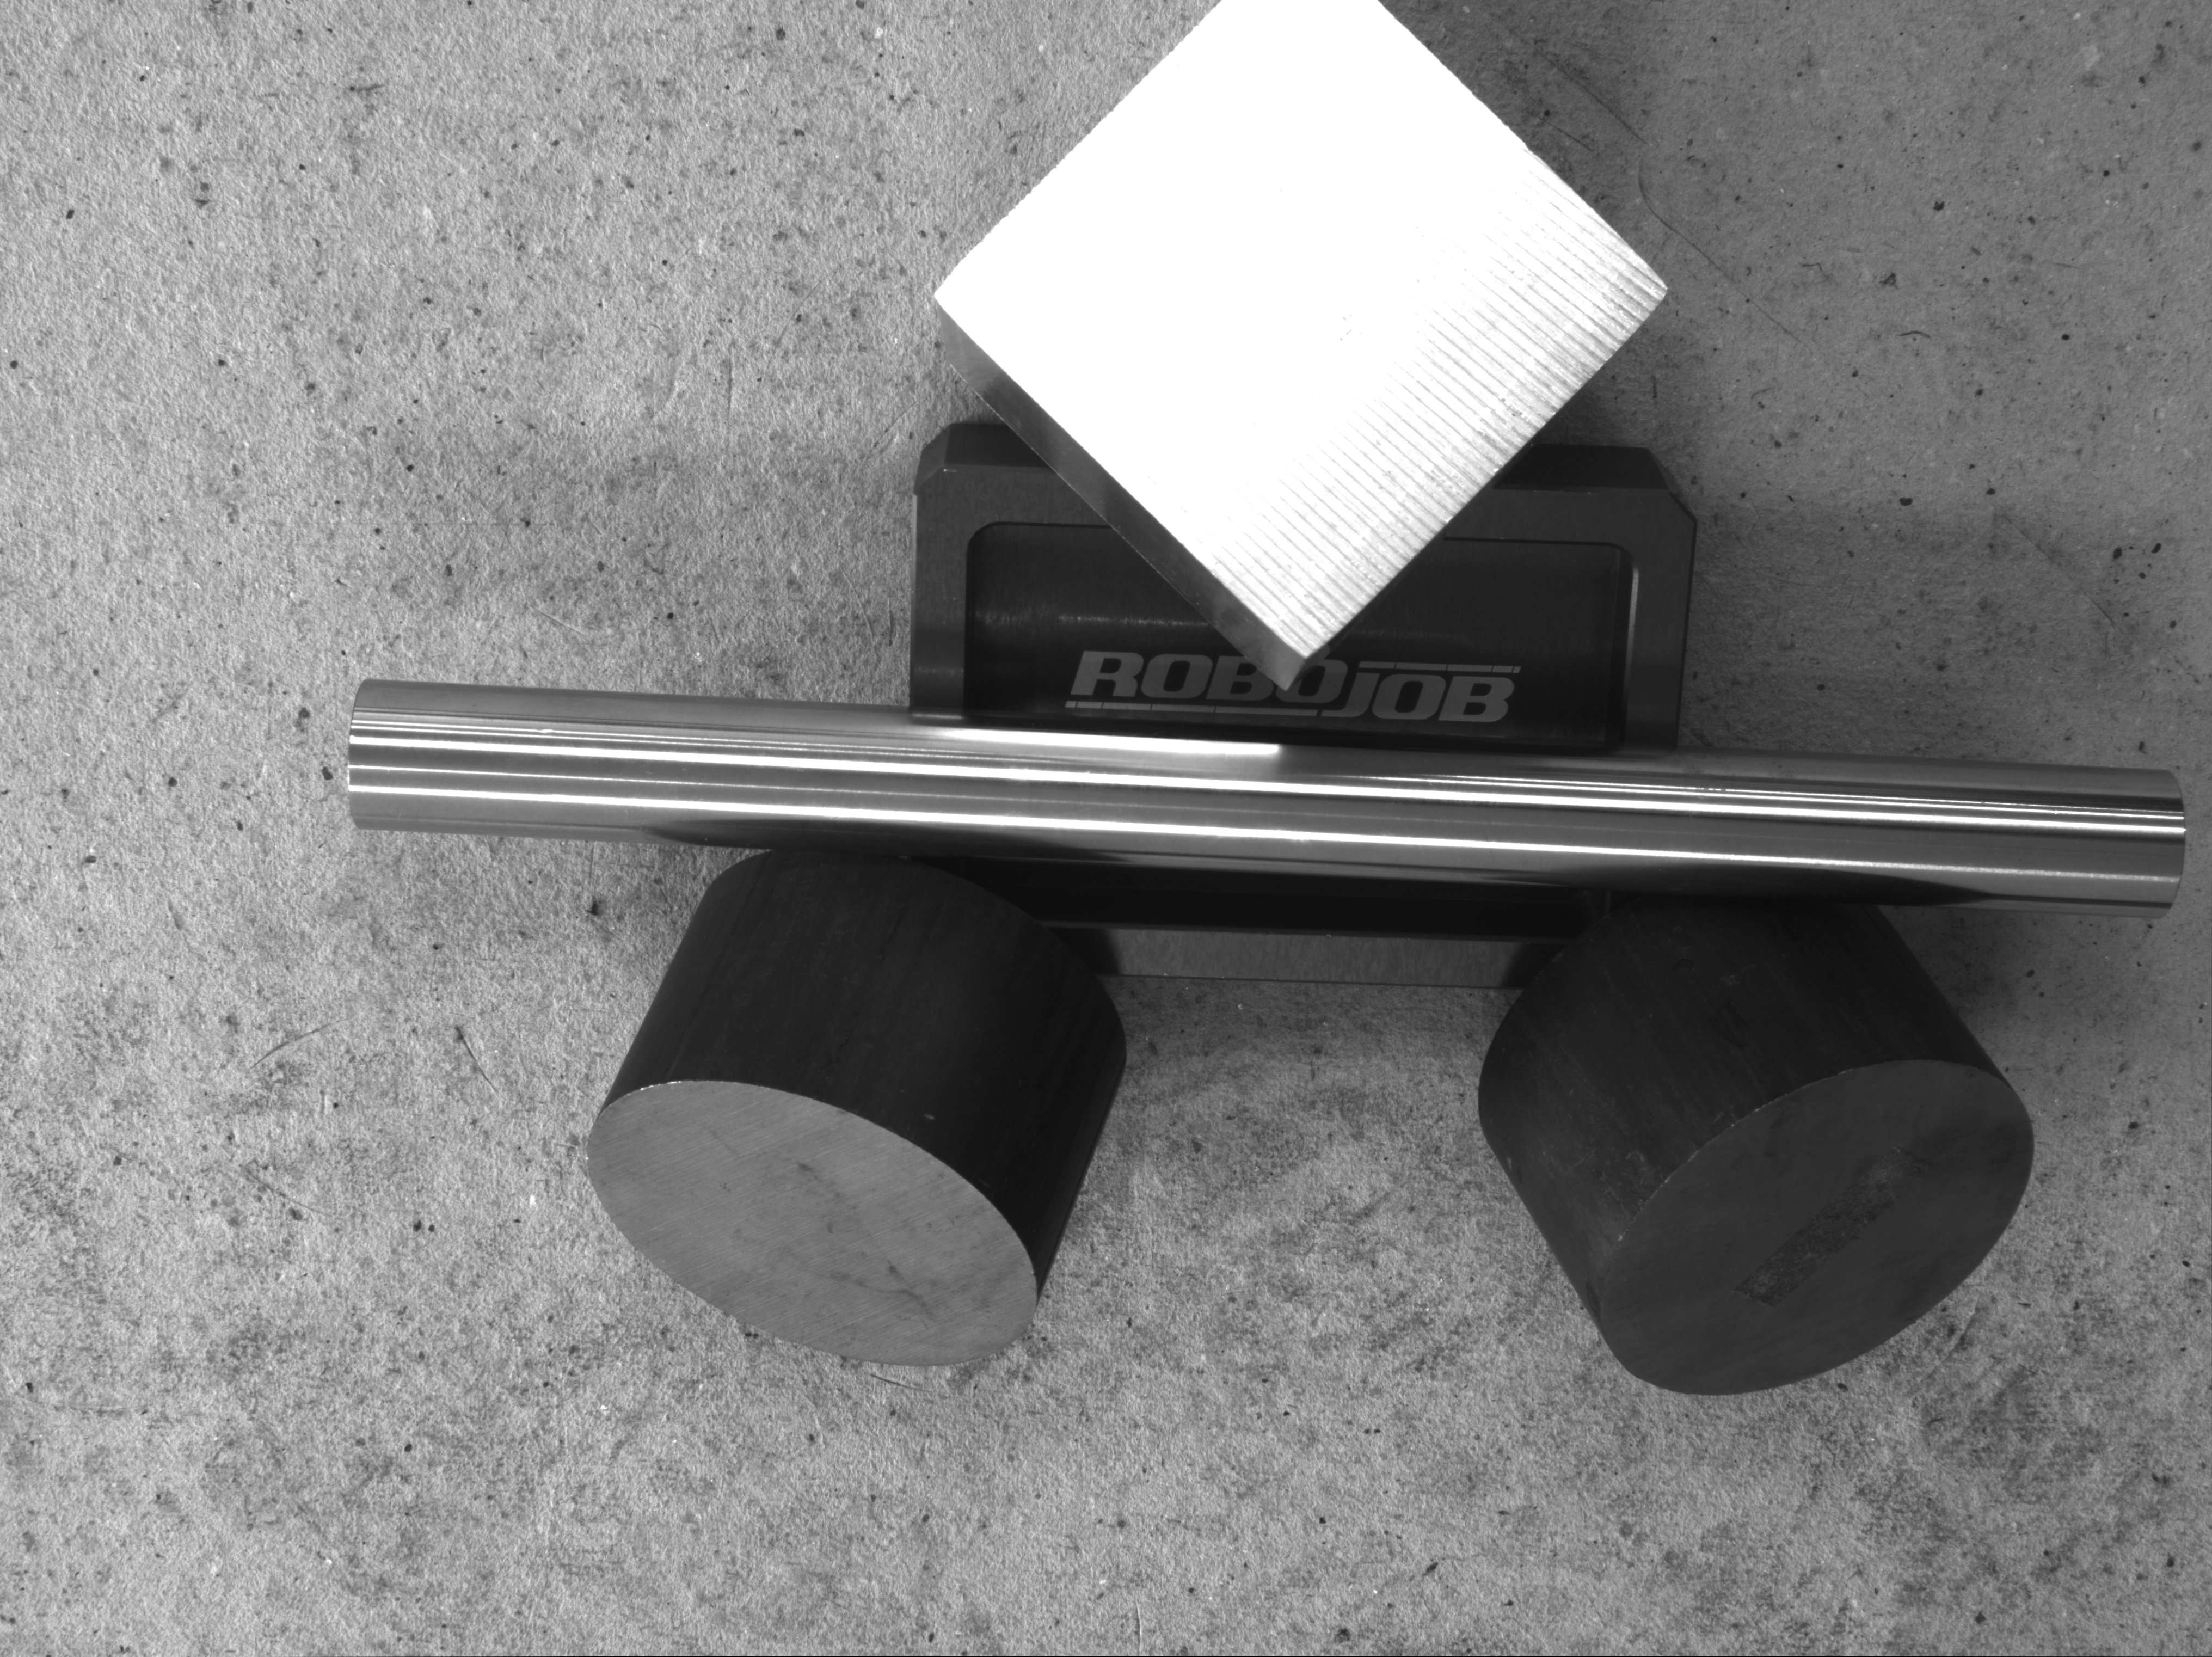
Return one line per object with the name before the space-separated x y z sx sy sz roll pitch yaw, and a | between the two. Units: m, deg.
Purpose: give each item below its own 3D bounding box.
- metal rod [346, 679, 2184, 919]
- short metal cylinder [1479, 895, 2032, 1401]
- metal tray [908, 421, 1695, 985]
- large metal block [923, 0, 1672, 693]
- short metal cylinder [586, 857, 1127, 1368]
metal rod | 0.027 -0.005 0.611 0.300 0.025 0.025 3 110 -1
short metal cylinder | 0.111 0.053 0.633 0.080 0.050 0.080 -13 134 -14
metal tray | 0.031 -0.021 0.634 0.130 0.030 0.090 2 110 -1
large metal block | 0.029 -0.079 0.579 0.080 0.050 0.080 45 88 2
short metal cylinder | -0.042 0.049 0.629 0.080 0.050 0.080 14 143 11
